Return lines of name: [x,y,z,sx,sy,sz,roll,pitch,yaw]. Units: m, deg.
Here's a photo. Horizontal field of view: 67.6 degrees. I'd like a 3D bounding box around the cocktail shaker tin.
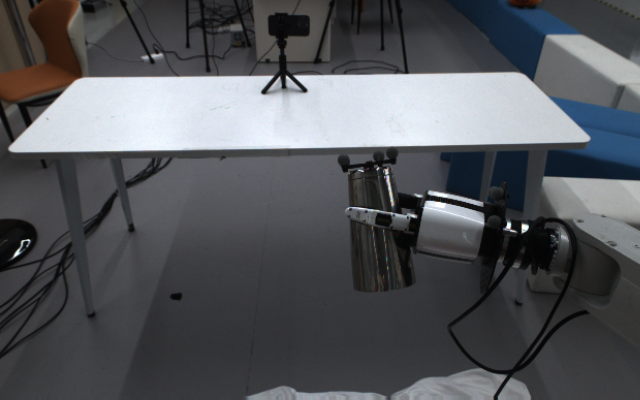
cocktail shaker tin: [0.084,0.040,0.707,0.093,0.170,0.093,-8,1,0]
